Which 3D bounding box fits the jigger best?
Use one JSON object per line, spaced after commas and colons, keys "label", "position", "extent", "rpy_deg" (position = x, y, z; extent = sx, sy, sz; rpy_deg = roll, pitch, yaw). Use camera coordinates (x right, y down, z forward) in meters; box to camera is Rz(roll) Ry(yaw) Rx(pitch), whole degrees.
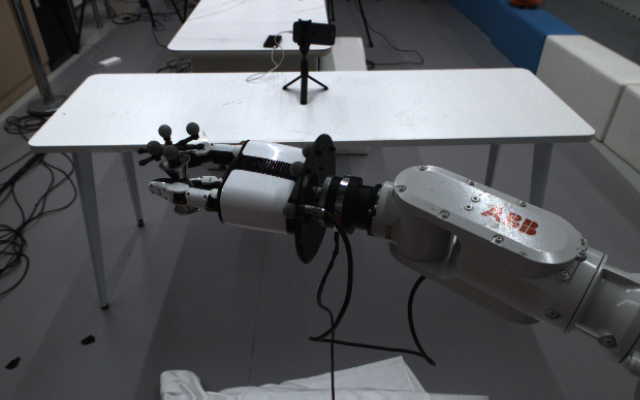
{"label": "jigger", "position": [-0.177, -0.022, 0.634], "extent": [0.043, 0.071, 0.043], "rpy_deg": [-8, 31, 5]}
